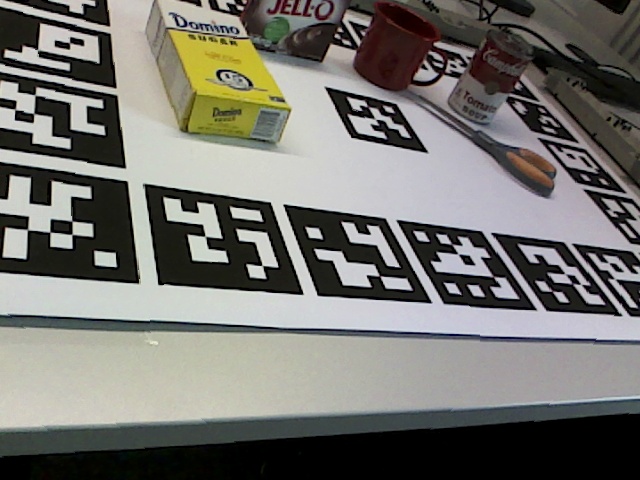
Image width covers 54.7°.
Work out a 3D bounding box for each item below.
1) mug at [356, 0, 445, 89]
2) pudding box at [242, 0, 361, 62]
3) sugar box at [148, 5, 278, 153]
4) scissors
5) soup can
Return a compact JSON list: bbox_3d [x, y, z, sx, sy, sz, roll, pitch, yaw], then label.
[{"bbox_3d":[0.105,-0.243,0.792,0.117,0.081,0.093,41,42,15],"label":"mug"},{"bbox_3d":[-0.023,-0.261,0.720,0.113,0.090,0.039,-2,55,-34],"label":"pudding box"},{"bbox_3d":[-0.108,-0.159,0.602,0.092,0.045,0.177,2,48,-28],"label":"sugar box"},{"bbox_3d":[0.209,-0.114,0.766,0.203,0.016,0.087,39,49,9],"label":"scissors"},{"bbox_3d":[0.219,-0.205,0.817,0.067,0.102,0.068,17,39,-15],"label":"soup can"}]
